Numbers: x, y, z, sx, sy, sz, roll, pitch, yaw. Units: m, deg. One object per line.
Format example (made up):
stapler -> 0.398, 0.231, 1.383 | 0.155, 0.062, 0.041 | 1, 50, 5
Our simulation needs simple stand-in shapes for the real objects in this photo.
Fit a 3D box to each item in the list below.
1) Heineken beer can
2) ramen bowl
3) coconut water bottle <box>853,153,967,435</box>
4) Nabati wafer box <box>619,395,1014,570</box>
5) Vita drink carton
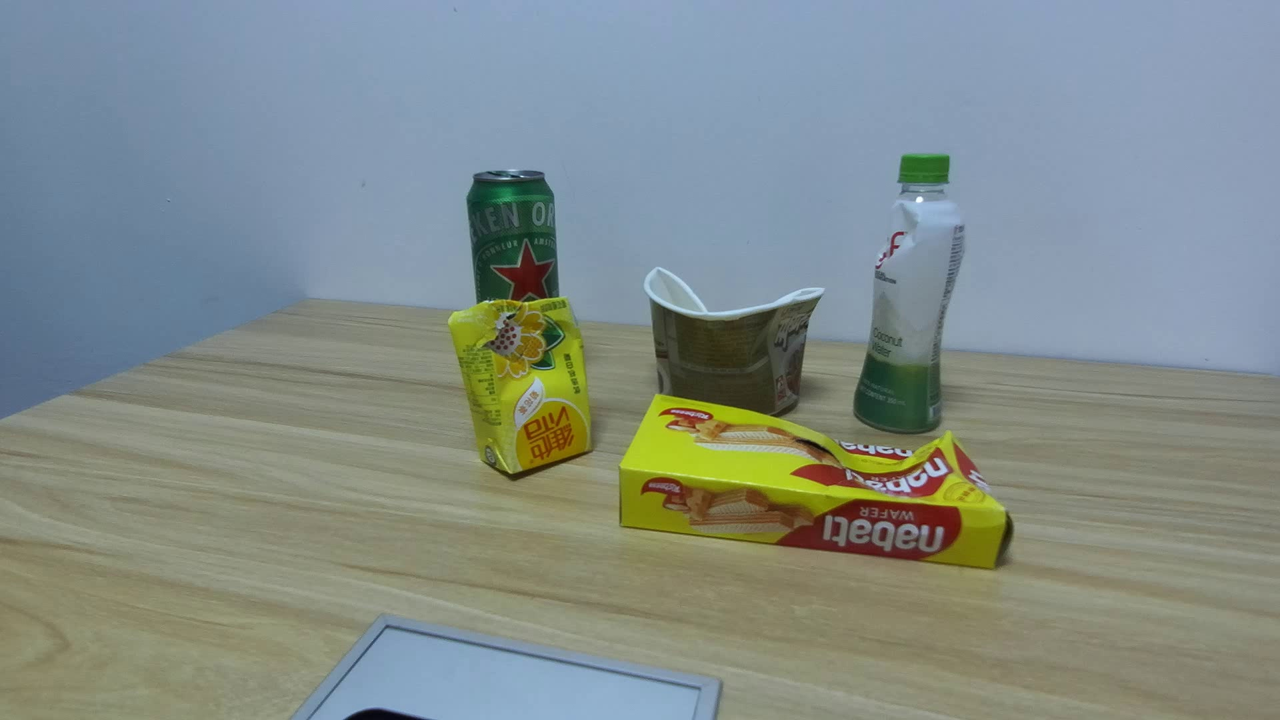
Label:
Heineken beer can -> -0.098, -0.062, 0.565 | 0.067, 0.169, 0.067 | -1, 20, 1
ramen bowl -> 0.062, -0.014, 0.543 | 0.137, 0.098, 0.137 | -1, 20, 1
coconut water bottle -> 0.190, -0.046, 0.495 | 0.069, 0.186, 0.069 | 0, 18, 0
Nabati wafer box -> 0.098, 0.066, 0.414 | 0.204, 0.042, 0.107 | 6, 23, 11
Vita drink carton -> -0.076, 0.013, 0.465 | 0.087, 0.108, 0.042 | -13, 11, -36
